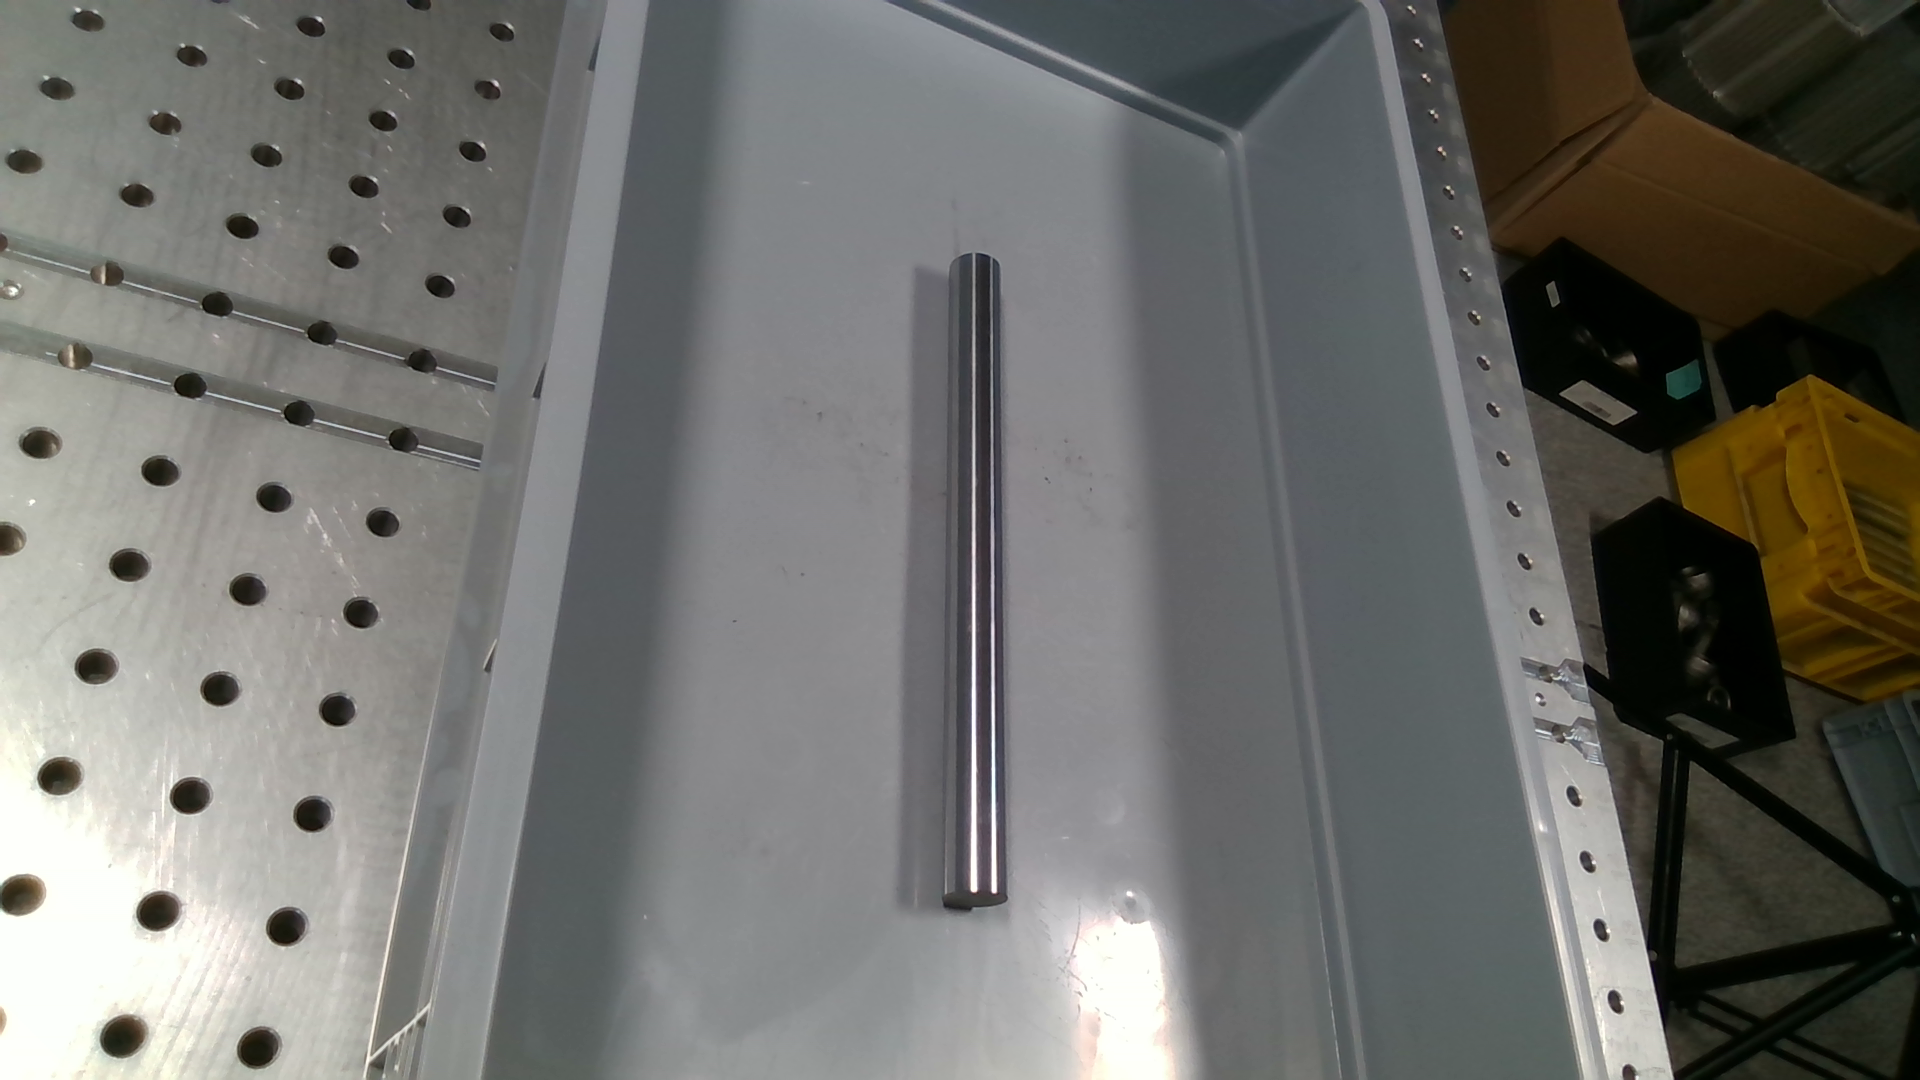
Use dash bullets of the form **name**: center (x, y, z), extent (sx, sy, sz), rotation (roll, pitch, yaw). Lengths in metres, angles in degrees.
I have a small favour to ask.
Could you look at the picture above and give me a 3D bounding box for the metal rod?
- **metal rod**: center (0.006, 0.003, 0.586), extent (0.025, 0.025, 0.299), rotation (15, 59, -25)
